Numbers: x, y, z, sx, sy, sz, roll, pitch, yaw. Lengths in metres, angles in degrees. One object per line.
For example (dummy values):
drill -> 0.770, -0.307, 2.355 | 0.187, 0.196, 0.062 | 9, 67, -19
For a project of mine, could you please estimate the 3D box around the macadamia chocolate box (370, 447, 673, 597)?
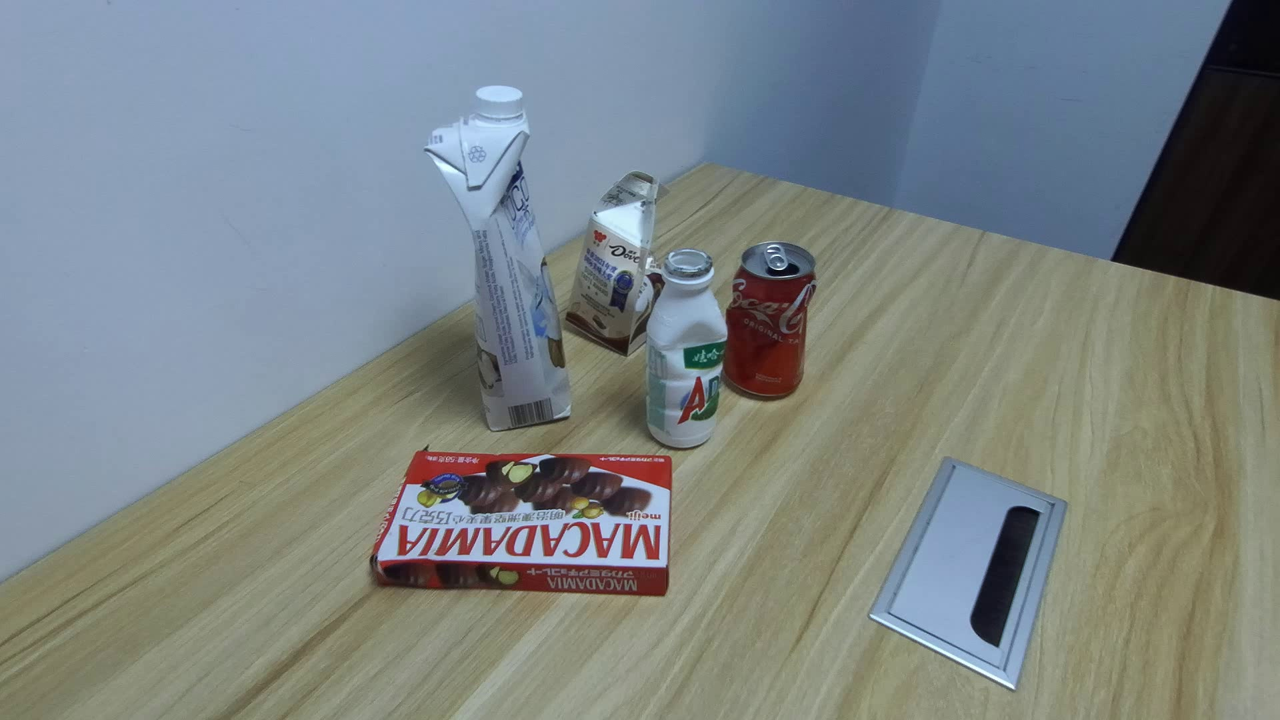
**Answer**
macadamia chocolate box -> -0.071, 0.101, 0.457 | 0.183, 0.028, 0.105 | 1, 36, 3

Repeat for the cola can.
cola can -> 0.102, -0.031, 0.559 | 0.066, 0.117, 0.066 | 18, 39, 23

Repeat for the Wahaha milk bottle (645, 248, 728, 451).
Wahaha milk bottle -> 0.031, -0.006, 0.492 | 0.056, 0.148, 0.056 | 1, 37, -1

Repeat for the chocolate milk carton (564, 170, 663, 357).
chocolate milk carton -> -0.010, -0.091, 0.613 | 0.076, 0.155, 0.089 | 22, 27, 21

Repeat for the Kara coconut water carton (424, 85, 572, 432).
Kara coconut water carton -> -0.095, -0.066, 0.502 | 0.069, 0.239, 0.115 | -8, 34, -7
